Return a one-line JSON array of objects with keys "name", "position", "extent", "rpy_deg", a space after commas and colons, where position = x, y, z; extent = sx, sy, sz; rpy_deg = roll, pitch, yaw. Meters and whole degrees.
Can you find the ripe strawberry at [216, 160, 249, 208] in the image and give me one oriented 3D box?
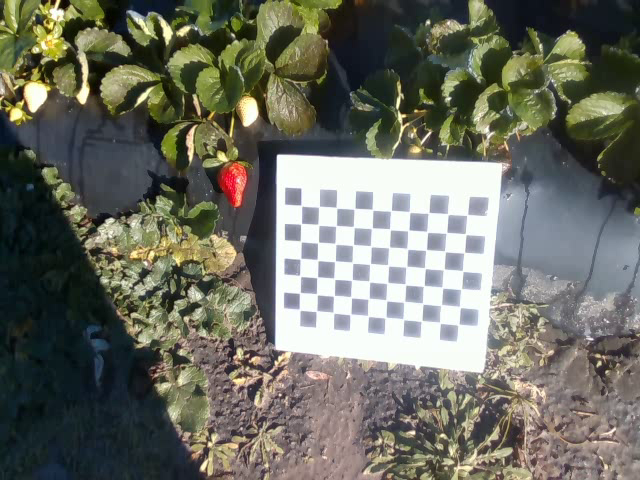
[{"name": "ripe strawberry", "position": [-0.117, -0.073, 0.810], "extent": [0.048, 0.069, 0.040], "rpy_deg": [-14, 1, 16]}]
